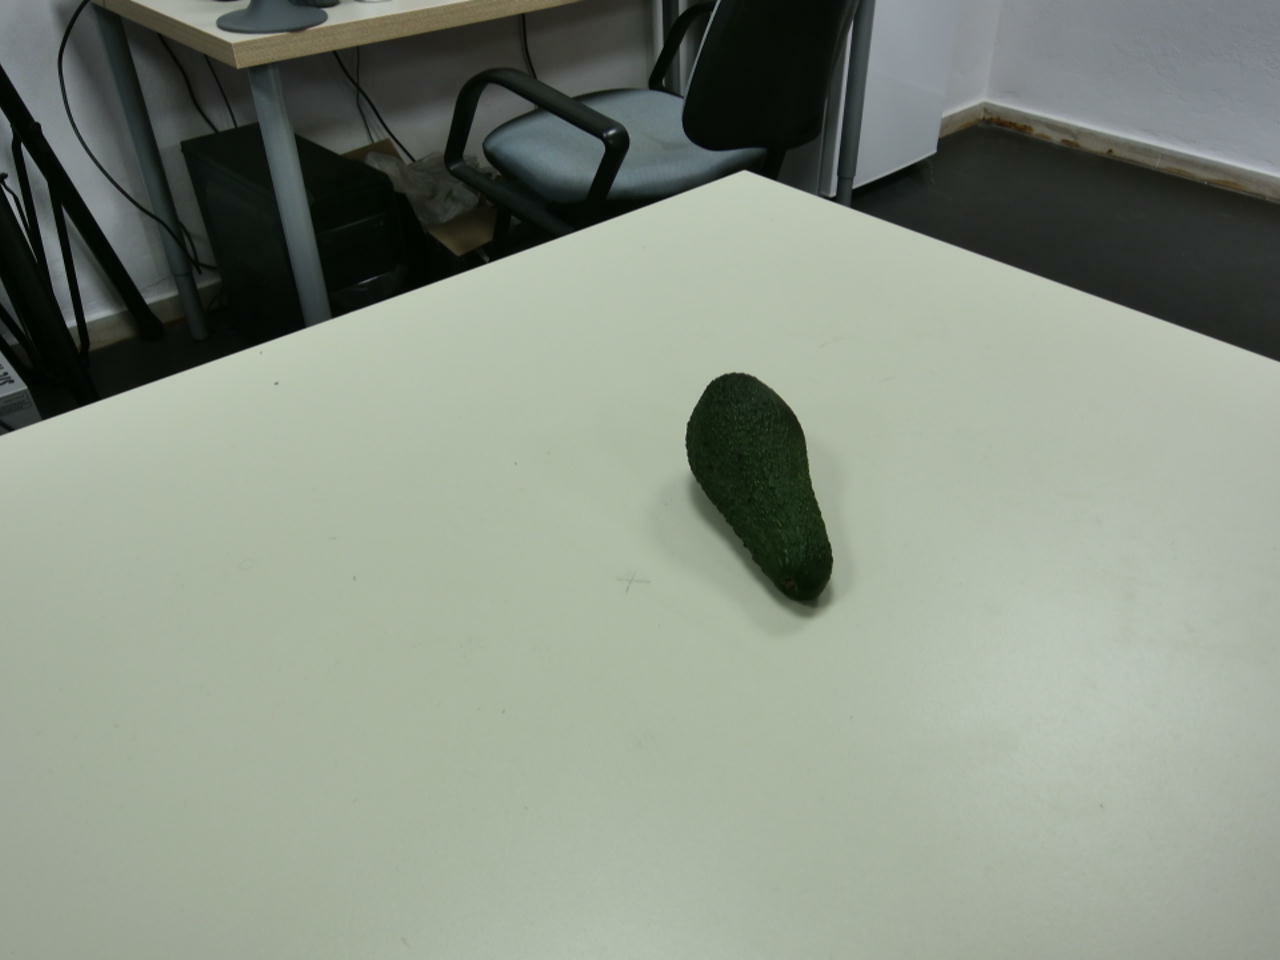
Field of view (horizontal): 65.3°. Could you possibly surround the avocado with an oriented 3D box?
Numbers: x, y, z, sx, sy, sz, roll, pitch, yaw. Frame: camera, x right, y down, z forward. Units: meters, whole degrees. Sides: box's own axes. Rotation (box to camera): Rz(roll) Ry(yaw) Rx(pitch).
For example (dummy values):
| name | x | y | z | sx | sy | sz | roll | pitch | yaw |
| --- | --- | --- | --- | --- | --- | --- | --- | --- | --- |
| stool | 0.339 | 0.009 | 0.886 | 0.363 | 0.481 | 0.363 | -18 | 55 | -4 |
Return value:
| name | x | y | z | sx | sy | sz | roll | pitch | yaw |
| --- | --- | --- | --- | --- | --- | --- | --- | --- | --- |
| avocado | 0.068 | -0.005 | 0.516 | 0.063 | 0.067 | 0.141 | -16 | 38 | -19 |
